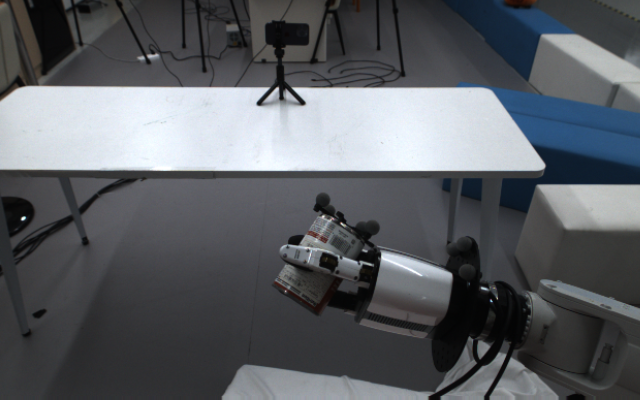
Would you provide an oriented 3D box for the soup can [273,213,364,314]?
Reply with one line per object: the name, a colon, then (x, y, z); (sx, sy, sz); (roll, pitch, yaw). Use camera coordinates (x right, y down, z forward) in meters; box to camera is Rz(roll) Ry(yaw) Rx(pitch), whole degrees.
soup can: (0.000, 0.075, 0.569); (0.067, 0.067, 0.101); (27, 76, 31)
